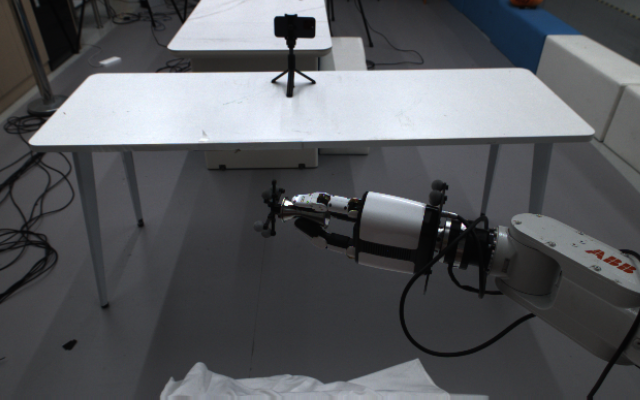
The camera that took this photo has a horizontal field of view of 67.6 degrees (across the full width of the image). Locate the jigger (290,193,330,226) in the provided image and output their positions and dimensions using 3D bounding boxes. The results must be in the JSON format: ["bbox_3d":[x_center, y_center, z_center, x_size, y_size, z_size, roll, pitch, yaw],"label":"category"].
[{"bbox_3d":[-0.014,0.014,0.725,0.071,0.043,0.043,6,35,11],"label":"jigger"}]
